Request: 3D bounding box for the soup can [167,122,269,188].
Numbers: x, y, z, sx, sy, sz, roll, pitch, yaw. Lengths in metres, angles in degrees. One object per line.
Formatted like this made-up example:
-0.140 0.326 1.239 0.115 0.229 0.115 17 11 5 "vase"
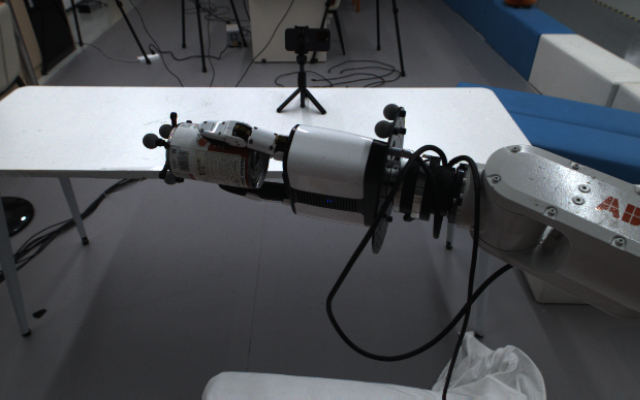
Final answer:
-0.115 -0.051 0.566 0.101 0.067 0.067 9 35 10 "soup can"
